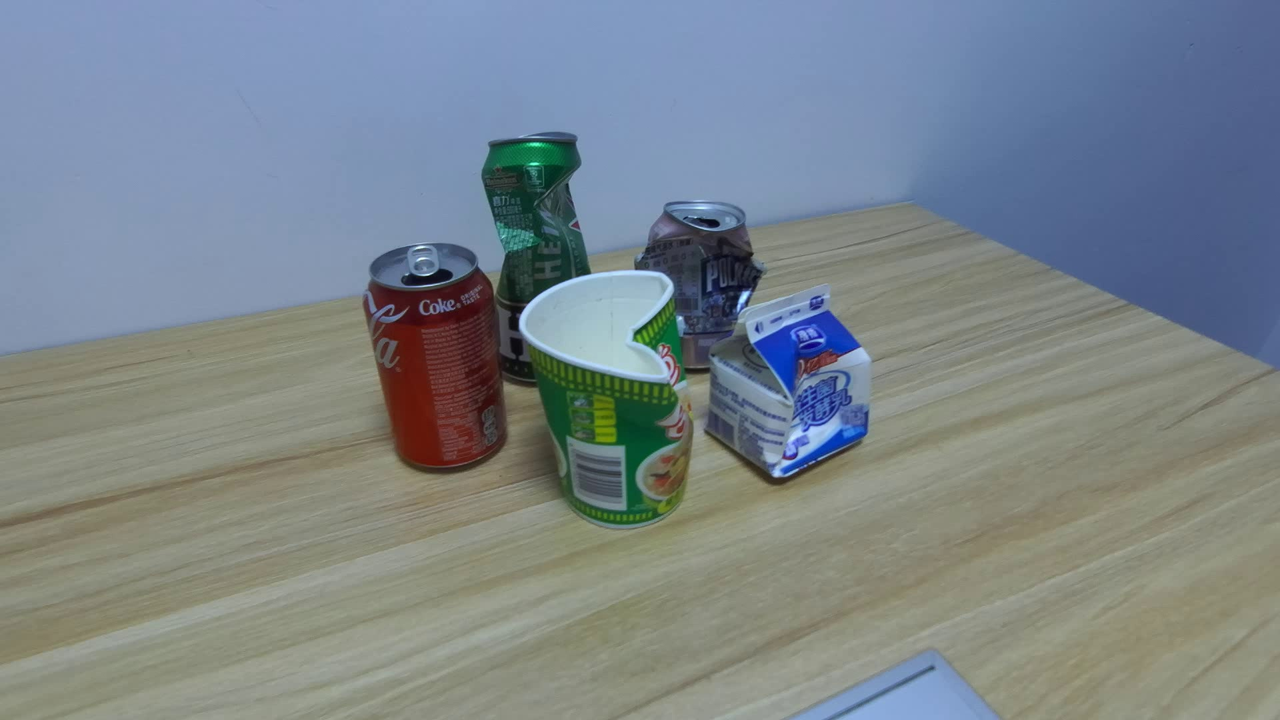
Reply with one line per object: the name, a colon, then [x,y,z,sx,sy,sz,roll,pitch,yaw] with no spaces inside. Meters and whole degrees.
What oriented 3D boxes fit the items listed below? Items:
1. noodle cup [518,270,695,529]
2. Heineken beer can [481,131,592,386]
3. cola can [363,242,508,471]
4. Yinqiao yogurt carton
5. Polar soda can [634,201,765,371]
noodle cup: [-0.010,0.023,0.368,0.086,0.109,0.094,15,36,20]
Heineken beer can: [-0.065,-0.064,0.460,0.067,0.159,0.078,-10,25,-24]
cola can: [-0.112,-0.001,0.396,0.068,0.120,0.068,0,32,0]
Yinqiao yogurt carton: [0.084,0.006,0.412,0.078,0.094,0.070,-20,31,-29]
Polar soda can: [0.041,-0.051,0.482,0.070,0.114,0.074,25,42,24]
